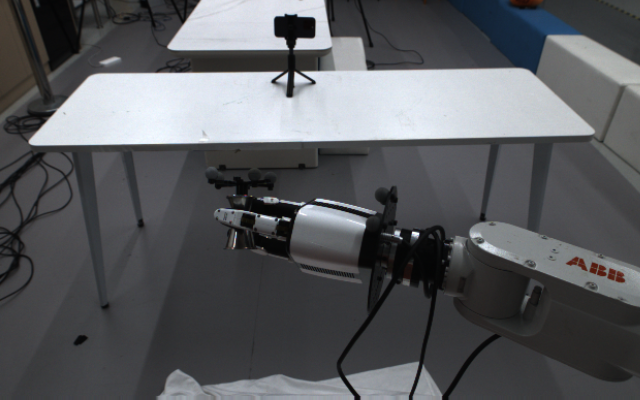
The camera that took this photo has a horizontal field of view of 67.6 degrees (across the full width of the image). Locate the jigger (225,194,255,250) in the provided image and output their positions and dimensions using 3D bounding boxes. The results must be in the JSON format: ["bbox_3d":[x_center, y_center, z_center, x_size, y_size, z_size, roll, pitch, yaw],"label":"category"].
[{"bbox_3d":[-0.102,0.029,0.621,0.043,0.071,0.043,1,-5,0],"label":"jigger"}]
